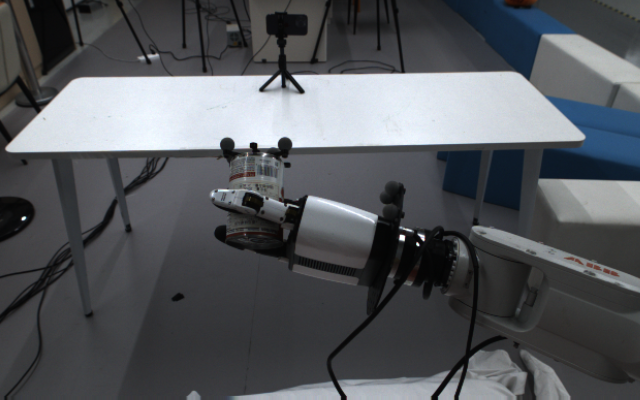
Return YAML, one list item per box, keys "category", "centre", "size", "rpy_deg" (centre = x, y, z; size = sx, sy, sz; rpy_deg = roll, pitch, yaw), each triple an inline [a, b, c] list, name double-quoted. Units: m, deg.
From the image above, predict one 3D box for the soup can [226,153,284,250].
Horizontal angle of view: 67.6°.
- category: "soup can"
  centre: [-0.075, 0.003, 0.573]
  size: [0.067, 0.067, 0.101]
  rpy_deg: [1, 73, -2]
